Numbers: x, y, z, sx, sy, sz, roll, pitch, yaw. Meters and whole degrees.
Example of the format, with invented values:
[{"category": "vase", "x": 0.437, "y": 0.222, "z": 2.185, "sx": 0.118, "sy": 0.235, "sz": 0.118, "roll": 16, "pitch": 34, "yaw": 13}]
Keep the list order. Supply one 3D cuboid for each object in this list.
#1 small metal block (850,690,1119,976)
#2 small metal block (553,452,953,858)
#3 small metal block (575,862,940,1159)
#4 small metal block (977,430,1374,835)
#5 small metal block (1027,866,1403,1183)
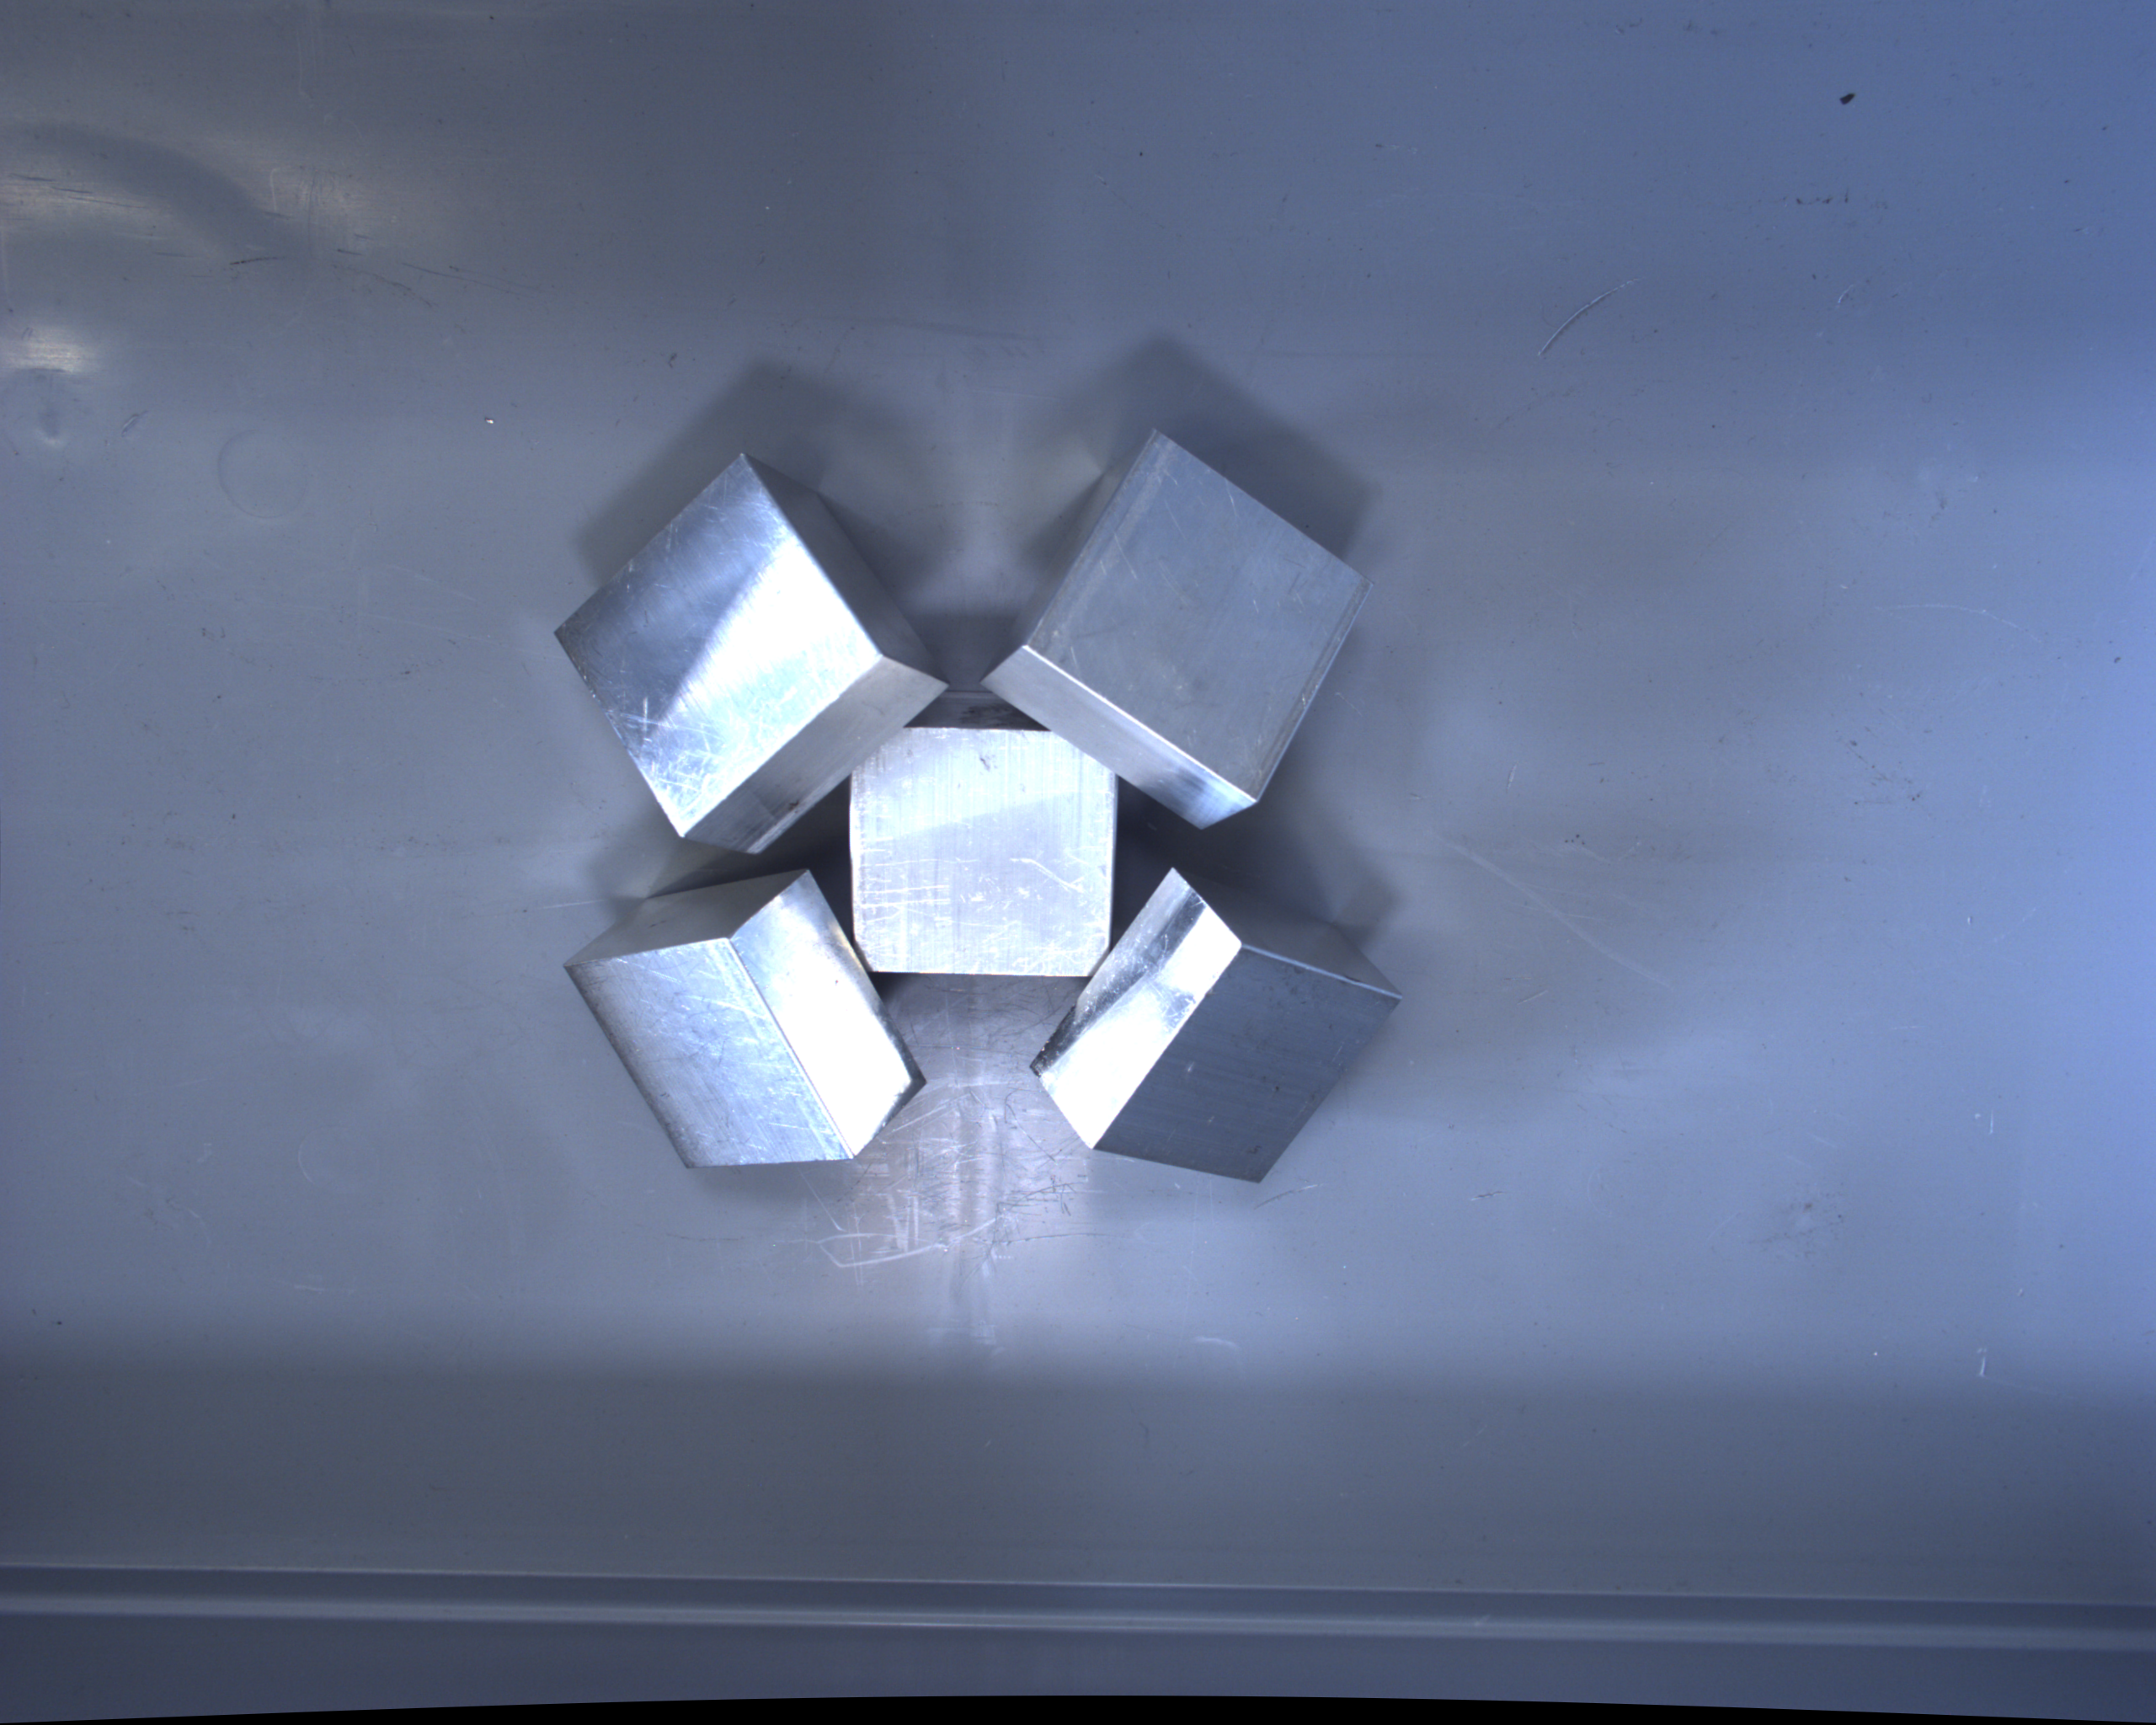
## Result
[{"category": "small metal block", "x": -0.018, "y": -0.006, "z": 0.406, "sx": 0.050, "sy": 0.025, "sz": 0.050, "roll": 1, "pitch": 110, "yaw": -1}, {"category": "small metal block", "x": -0.060, "y": -0.037, "z": 0.381, "sx": 0.050, "sy": 0.025, "sz": 0.050, "roll": -41, "pitch": 68, "yaw": 14}, {"category": "small metal block", "x": -0.063, "y": 0.030, "z": 0.407, "sx": 0.050, "sy": 0.025, "sz": 0.050, "roll": -9, "pitch": 116, "yaw": 44}, {"category": "small metal block", "x": 0.018, "y": -0.041, "z": 0.381, "sx": 0.050, "sy": 0.025, "sz": 0.050, "roll": 33, "pitch": 69, "yaw": -12}, {"category": "small metal block", "x": 0.027, "y": 0.033, "z": 0.410, "sx": 0.050, "sy": 0.025, "sz": 0.050, "roll": 19, "pitch": 113, "yaw": -44}]
